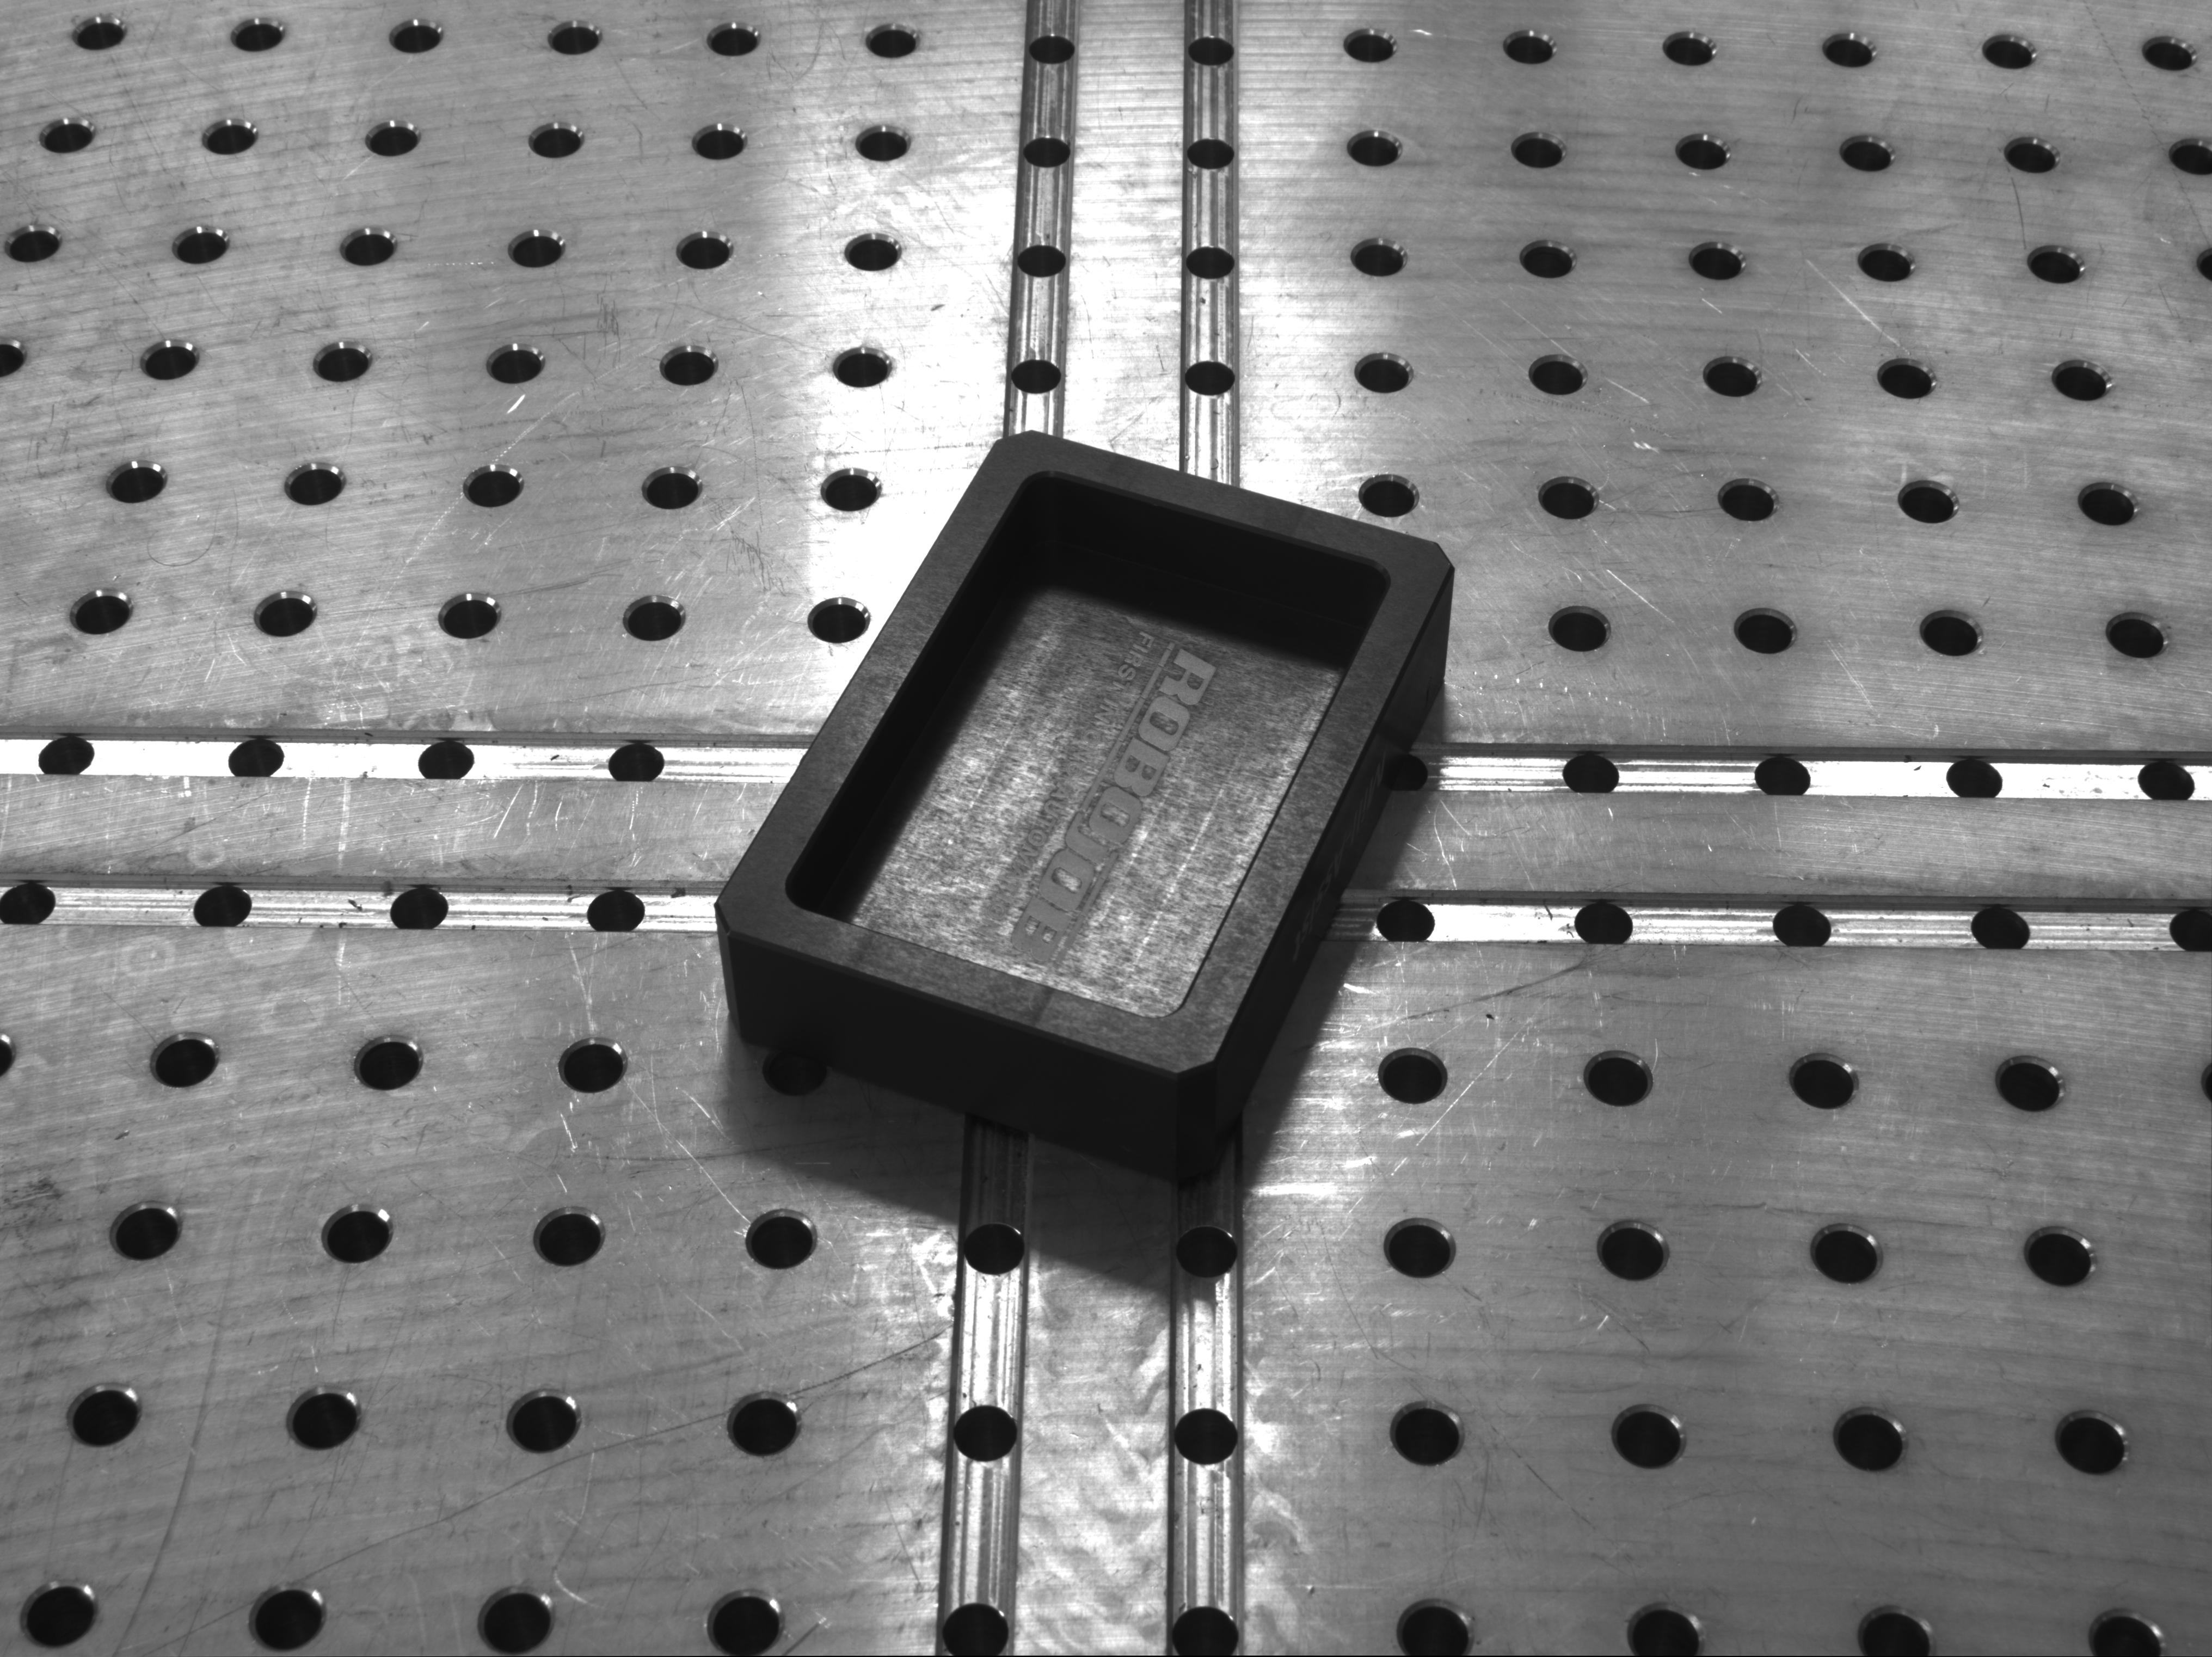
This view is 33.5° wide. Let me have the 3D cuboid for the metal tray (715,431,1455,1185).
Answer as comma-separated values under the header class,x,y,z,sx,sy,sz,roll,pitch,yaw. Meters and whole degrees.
class,x,y,z,sx,sy,sz,roll,pitch,yaw
metal tray,-0.001,-0.007,0.648,0.090,0.030,0.130,17,52,14
